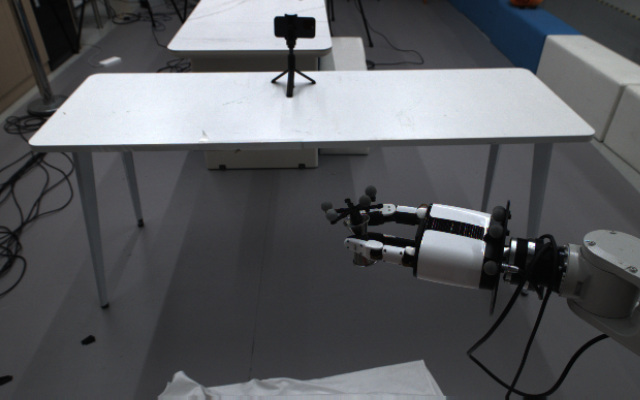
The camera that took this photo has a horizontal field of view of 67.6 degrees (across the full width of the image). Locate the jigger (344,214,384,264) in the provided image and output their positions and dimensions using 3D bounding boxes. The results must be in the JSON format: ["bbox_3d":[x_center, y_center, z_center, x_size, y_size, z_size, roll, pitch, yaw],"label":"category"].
[{"bbox_3d":[0.063,0.059,0.720,0.043,0.071,0.043,-14,21,6],"label":"jigger"}]
